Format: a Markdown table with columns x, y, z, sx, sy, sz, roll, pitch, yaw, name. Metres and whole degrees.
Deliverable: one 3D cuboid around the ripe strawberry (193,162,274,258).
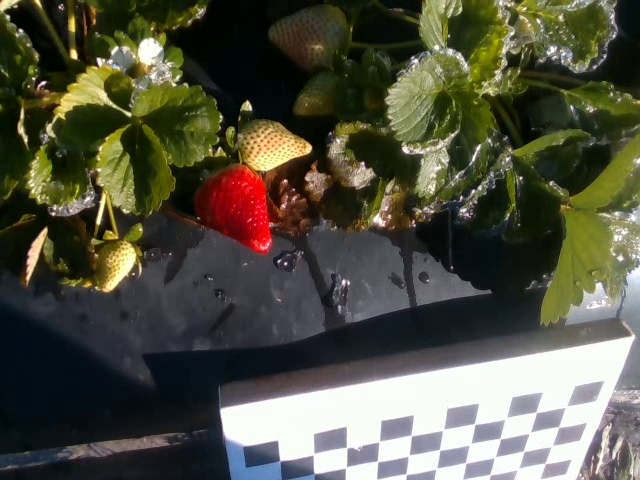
| x | y | z | sx | sy | sz | roll | pitch | yaw | name |
| --- | --- | --- | --- | --- | --- | --- | --- | --- | --- |
| -0.039 | -0.012 | 0.304 | 0.040 | 0.053 | 0.042 | -39 | -27 | 10 | ripe strawberry |
